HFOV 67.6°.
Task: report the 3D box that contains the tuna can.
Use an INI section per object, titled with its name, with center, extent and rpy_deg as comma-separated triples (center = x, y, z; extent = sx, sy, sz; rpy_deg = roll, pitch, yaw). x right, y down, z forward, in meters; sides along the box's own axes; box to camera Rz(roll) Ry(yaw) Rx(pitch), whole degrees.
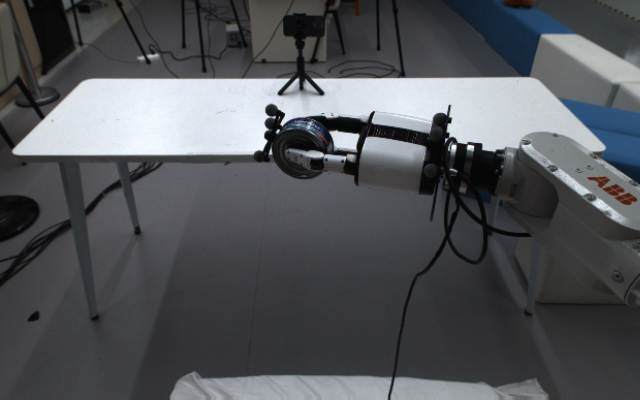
[tuna can]
center = -0.022, -0.069, 0.692
extent = 0.085, 0.085, 0.034
rpy_deg = 9, 35, 10
